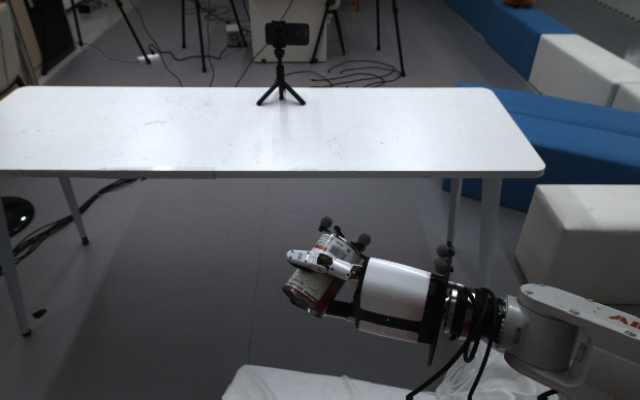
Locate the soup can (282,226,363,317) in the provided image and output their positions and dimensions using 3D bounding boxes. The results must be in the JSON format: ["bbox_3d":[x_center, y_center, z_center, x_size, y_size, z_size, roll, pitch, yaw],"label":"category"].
[{"bbox_3d":[0.005,0.102,0.678,0.067,0.067,0.101,25,67,30],"label":"soup can"}]
